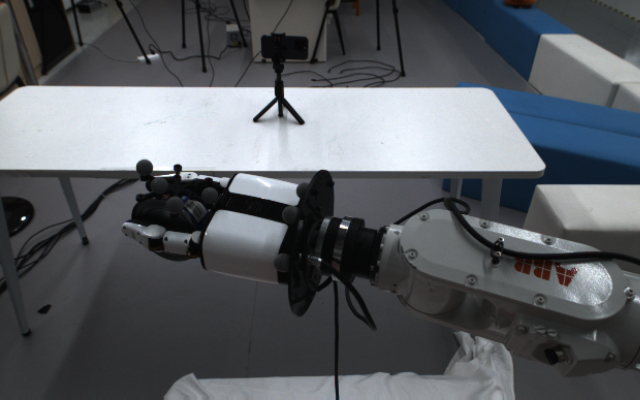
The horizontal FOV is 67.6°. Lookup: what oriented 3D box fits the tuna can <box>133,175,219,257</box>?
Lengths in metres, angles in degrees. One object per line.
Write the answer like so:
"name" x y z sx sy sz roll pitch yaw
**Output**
"tuna can" -0.165 0.026 0.551 0.085 0.085 0.034 12 33 14
